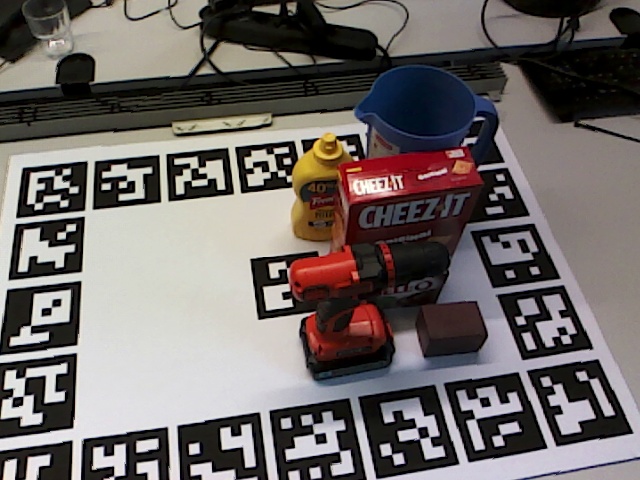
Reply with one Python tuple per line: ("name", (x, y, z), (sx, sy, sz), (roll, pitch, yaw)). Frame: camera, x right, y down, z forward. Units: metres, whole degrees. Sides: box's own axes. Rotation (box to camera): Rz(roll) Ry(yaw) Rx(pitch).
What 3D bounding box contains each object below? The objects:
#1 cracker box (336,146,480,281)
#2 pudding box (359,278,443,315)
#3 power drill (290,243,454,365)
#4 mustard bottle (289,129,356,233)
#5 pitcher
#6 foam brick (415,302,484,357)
("cracker box", (0.106, -0.015, 0.816), (0.164, 0.213, 0.072), (-10, 54, -5))
("pudding box", (0.105, 0.056, 0.832), (0.114, 0.090, 0.039), (-8, 54, -3))
("power drill", (0.056, 0.075, 0.734), (0.184, 0.186, 0.057), (-8, 53, -8))
("mustard bottle", (0.005, -0.084, 0.869), (0.096, 0.191, 0.058), (4, 56, 1))
("pitcher", (0.136, -0.107, 0.874), (0.189, 0.242, 0.134), (-3, 56, -1))
("foam brick", (0.171, 0.120, 0.828), (0.078, 0.051, 0.053), (-5, 57, -5))
